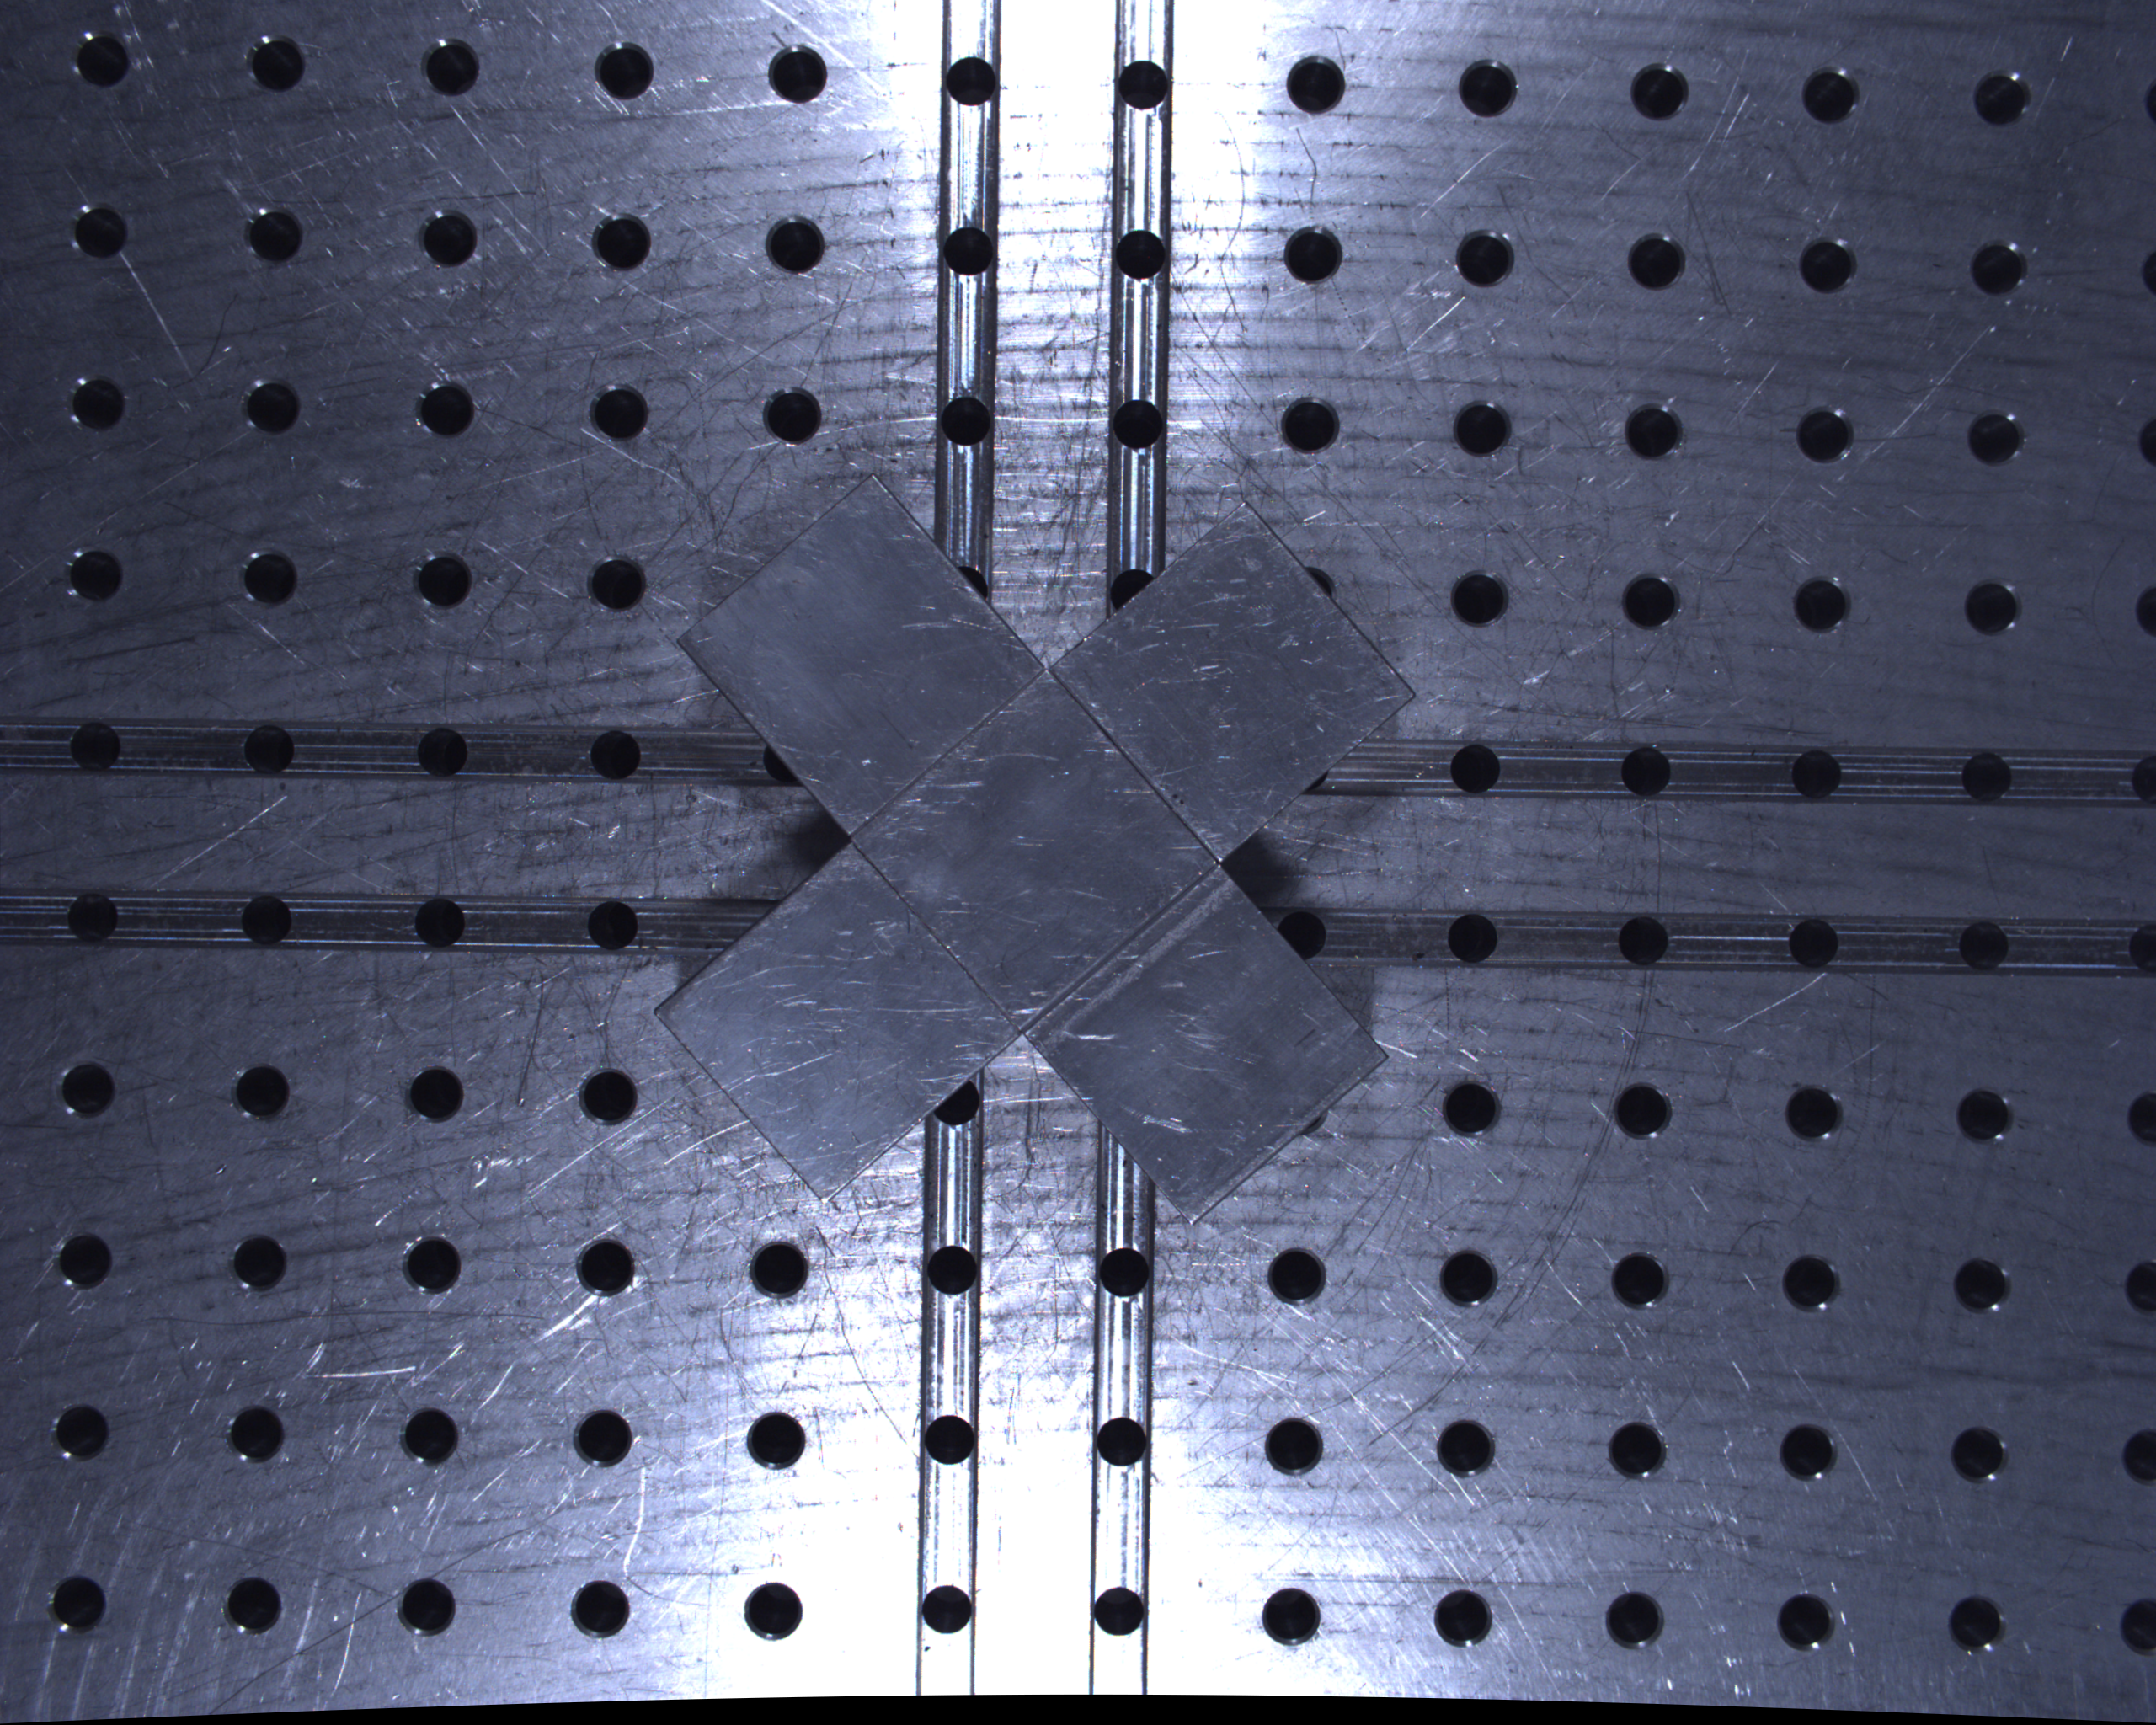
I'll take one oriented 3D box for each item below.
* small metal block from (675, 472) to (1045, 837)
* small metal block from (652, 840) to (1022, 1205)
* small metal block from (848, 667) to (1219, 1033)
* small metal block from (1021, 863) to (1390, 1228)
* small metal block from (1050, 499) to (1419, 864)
[{"bbox_3d":[-0.042,-0.040,0.413,0.050,0.025,0.050,-41,91,0],"label":"small metal block"},{"bbox_3d":[-0.046,0.031,0.413,0.050,0.025,0.050,-41,91,0],"label":"small metal block"},{"bbox_3d":[-0.009,-0.002,0.412,0.050,0.025,0.050,-41,91,0],"label":"small metal block"},{"bbox_3d":[0.025,0.035,0.414,0.050,0.025,0.050,-41,91,0],"label":"small metal block"},{"bbox_3d":[0.030,-0.035,0.413,0.050,0.025,0.050,-41,91,0],"label":"small metal block"}]
